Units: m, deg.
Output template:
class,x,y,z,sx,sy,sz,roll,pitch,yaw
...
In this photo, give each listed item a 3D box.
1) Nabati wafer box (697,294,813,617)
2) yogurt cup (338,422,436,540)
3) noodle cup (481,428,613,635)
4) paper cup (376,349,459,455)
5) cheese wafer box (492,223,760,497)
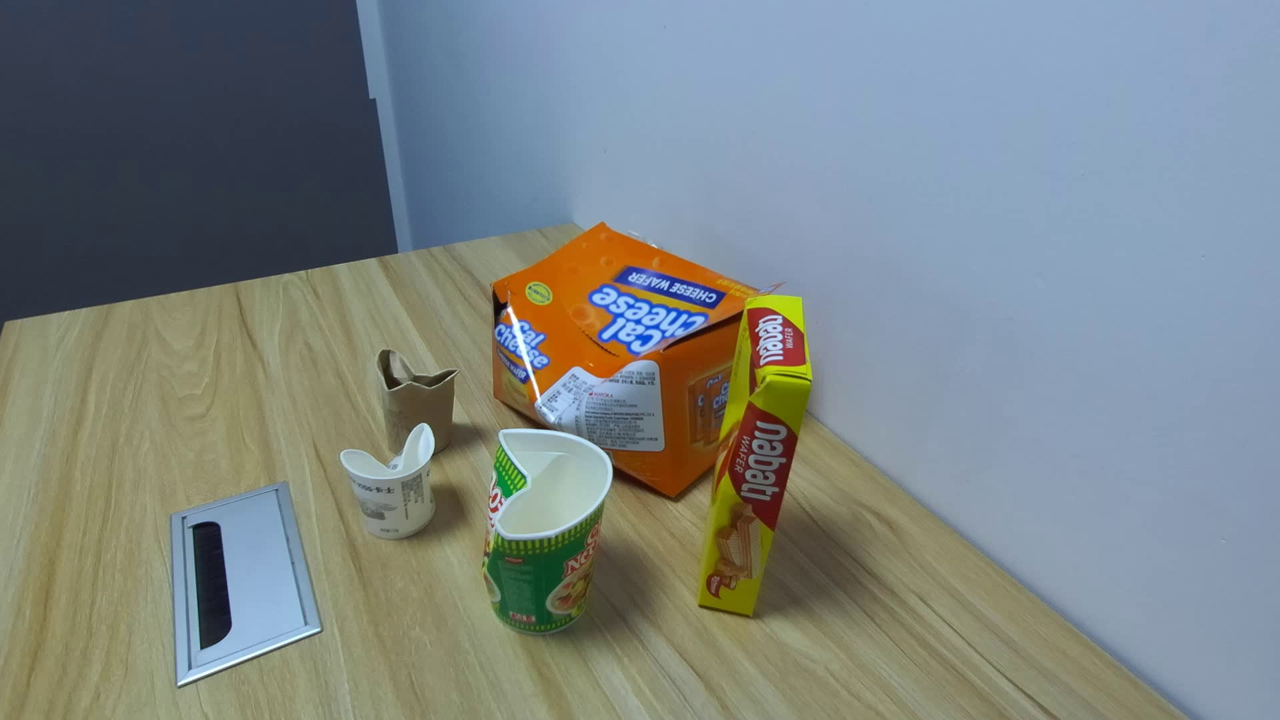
class,x,y,z,sx,sy,sz,roll,pitch,yaw
Nabati wafer box,0.071,0.065,0.458,0.042,0.203,0.096,9,35,6
yogurt cup,-0.183,0.092,0.528,0.067,0.070,0.067,4,32,-2
noodle cup,-0.063,0.117,0.458,0.087,0.109,0.094,9,35,10
paper cup,-0.189,0.036,0.604,0.058,0.083,0.066,-13,37,-28
cheese wafer box,-0.014,-0.008,0.618,0.218,0.145,0.192,26,40,33
